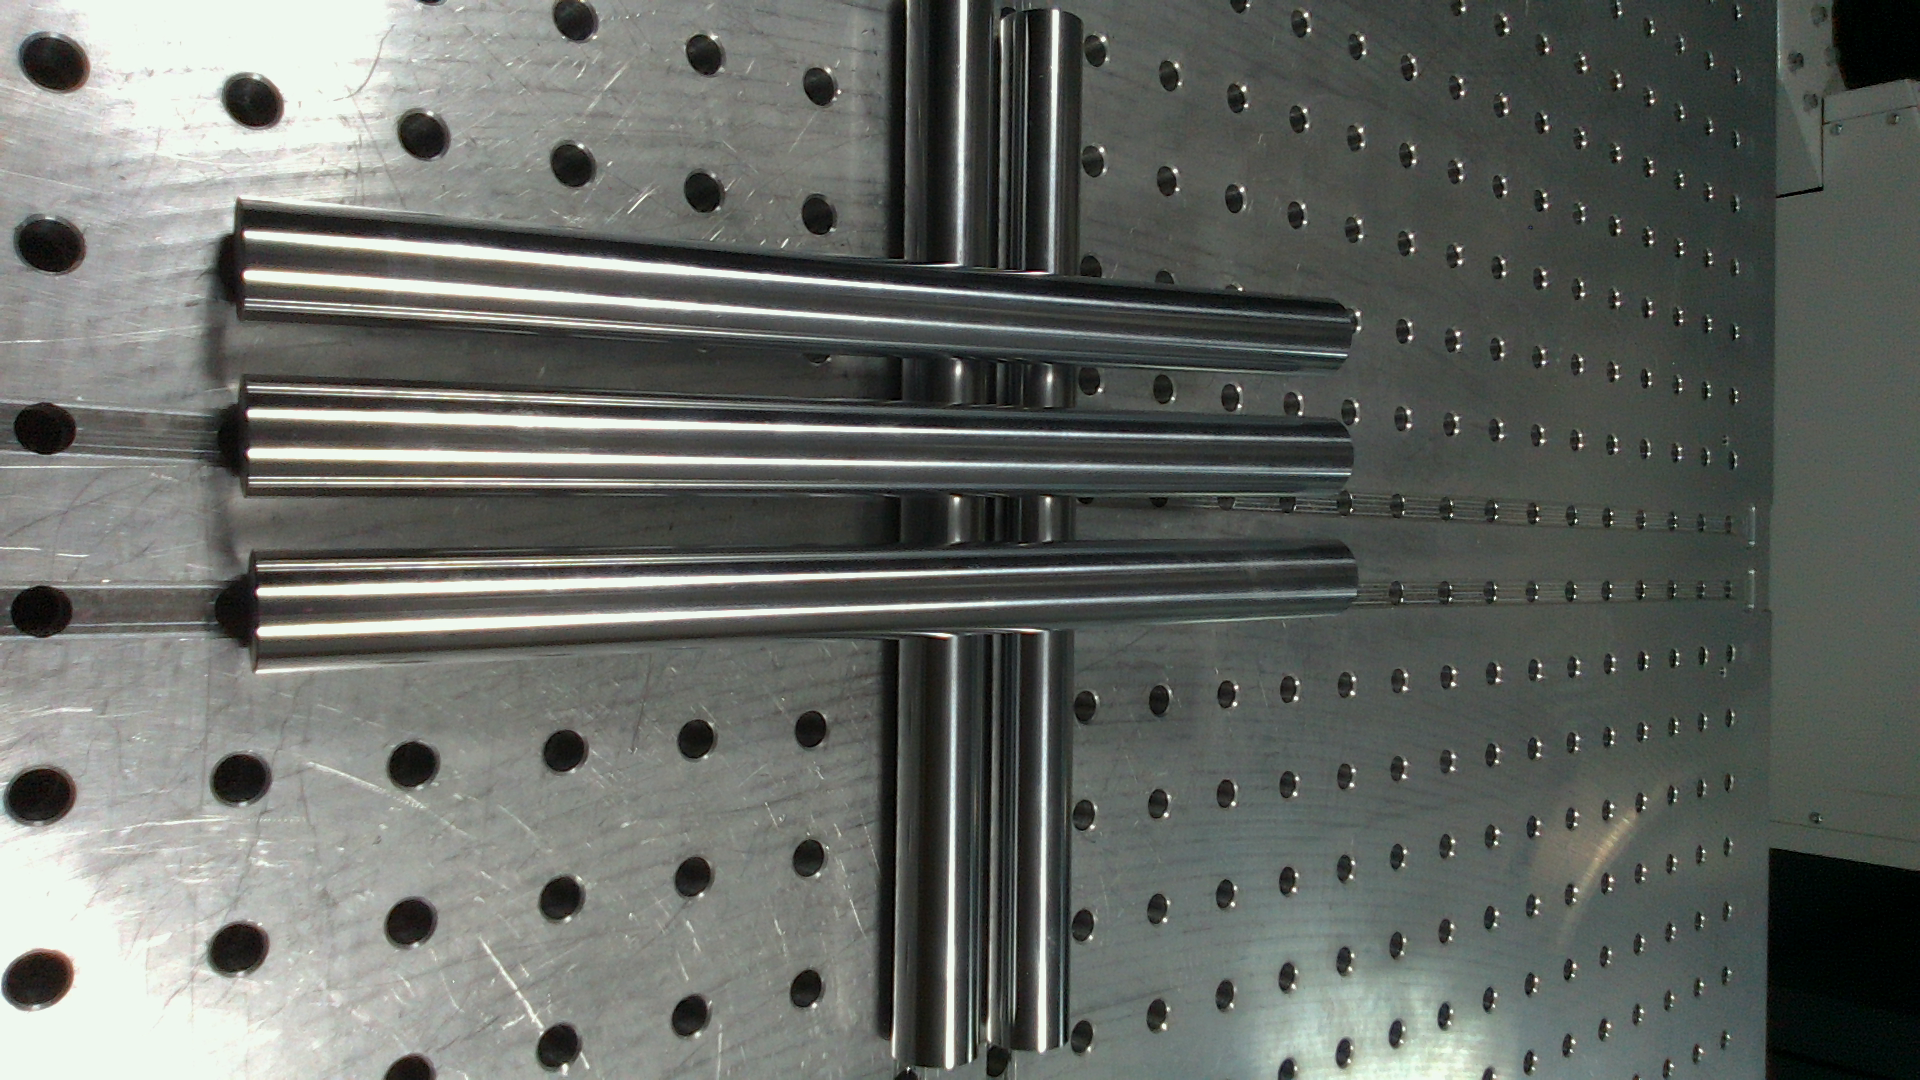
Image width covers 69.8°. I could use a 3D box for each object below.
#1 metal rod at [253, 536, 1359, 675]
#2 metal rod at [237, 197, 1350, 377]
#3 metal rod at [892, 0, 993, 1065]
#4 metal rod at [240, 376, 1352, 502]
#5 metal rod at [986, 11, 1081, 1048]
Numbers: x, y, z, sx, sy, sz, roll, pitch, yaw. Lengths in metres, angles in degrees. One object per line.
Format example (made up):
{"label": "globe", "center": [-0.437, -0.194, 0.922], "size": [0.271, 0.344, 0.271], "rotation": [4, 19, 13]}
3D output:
{"label": "metal rod", "center": [-0.013, 0.013, 0.354], "size": [0.301, 0.025, 0.025], "rotation": [-1, 90, -31]}
{"label": "metal rod", "center": [-0.015, -0.060, 0.353], "size": [0.301, 0.025, 0.025], "rotation": [-2, 91, -32]}
{"label": "metal rod", "center": [-0.005, -0.007, 0.388], "size": [0.025, 0.025, 0.300], "rotation": [1, 89, -40]}
{"label": "metal rod", "center": [-0.014, -0.023, 0.353], "size": [0.301, 0.025, 0.025], "rotation": [-1, 91, -32]}
{"label": "metal rod", "center": [0.022, -0.004, 0.410], "size": [0.025, 0.025, 0.300], "rotation": [1, 89, -40]}
